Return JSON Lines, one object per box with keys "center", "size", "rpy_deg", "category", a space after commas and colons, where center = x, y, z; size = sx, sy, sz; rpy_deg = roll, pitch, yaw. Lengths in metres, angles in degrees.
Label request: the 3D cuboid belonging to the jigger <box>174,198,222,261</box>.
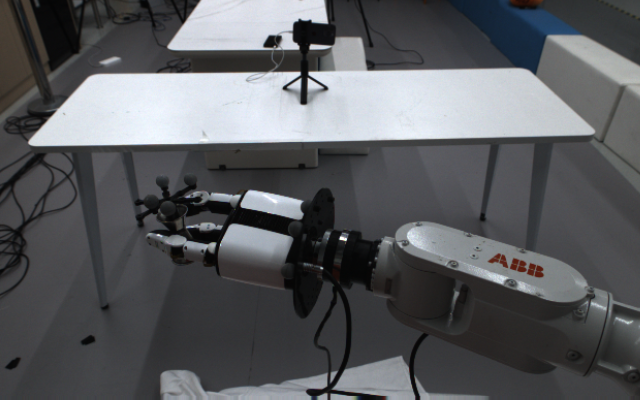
{"center": [-0.178, 0.043, 0.629], "size": [0.043, 0.071, 0.043], "rpy_deg": [-8, 31, 5], "category": "jigger"}
